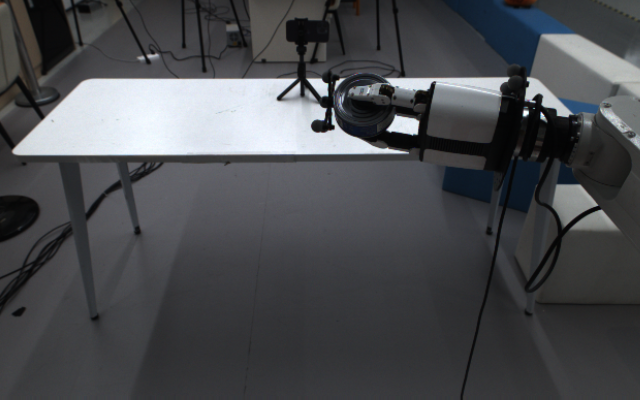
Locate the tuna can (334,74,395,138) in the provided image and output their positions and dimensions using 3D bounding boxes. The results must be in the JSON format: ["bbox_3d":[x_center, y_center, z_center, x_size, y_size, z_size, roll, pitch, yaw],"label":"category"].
[{"bbox_3d":[0.064,-0.128,0.661,0.085,0.034,0.085,-2,69,6],"label":"tuna can"}]
